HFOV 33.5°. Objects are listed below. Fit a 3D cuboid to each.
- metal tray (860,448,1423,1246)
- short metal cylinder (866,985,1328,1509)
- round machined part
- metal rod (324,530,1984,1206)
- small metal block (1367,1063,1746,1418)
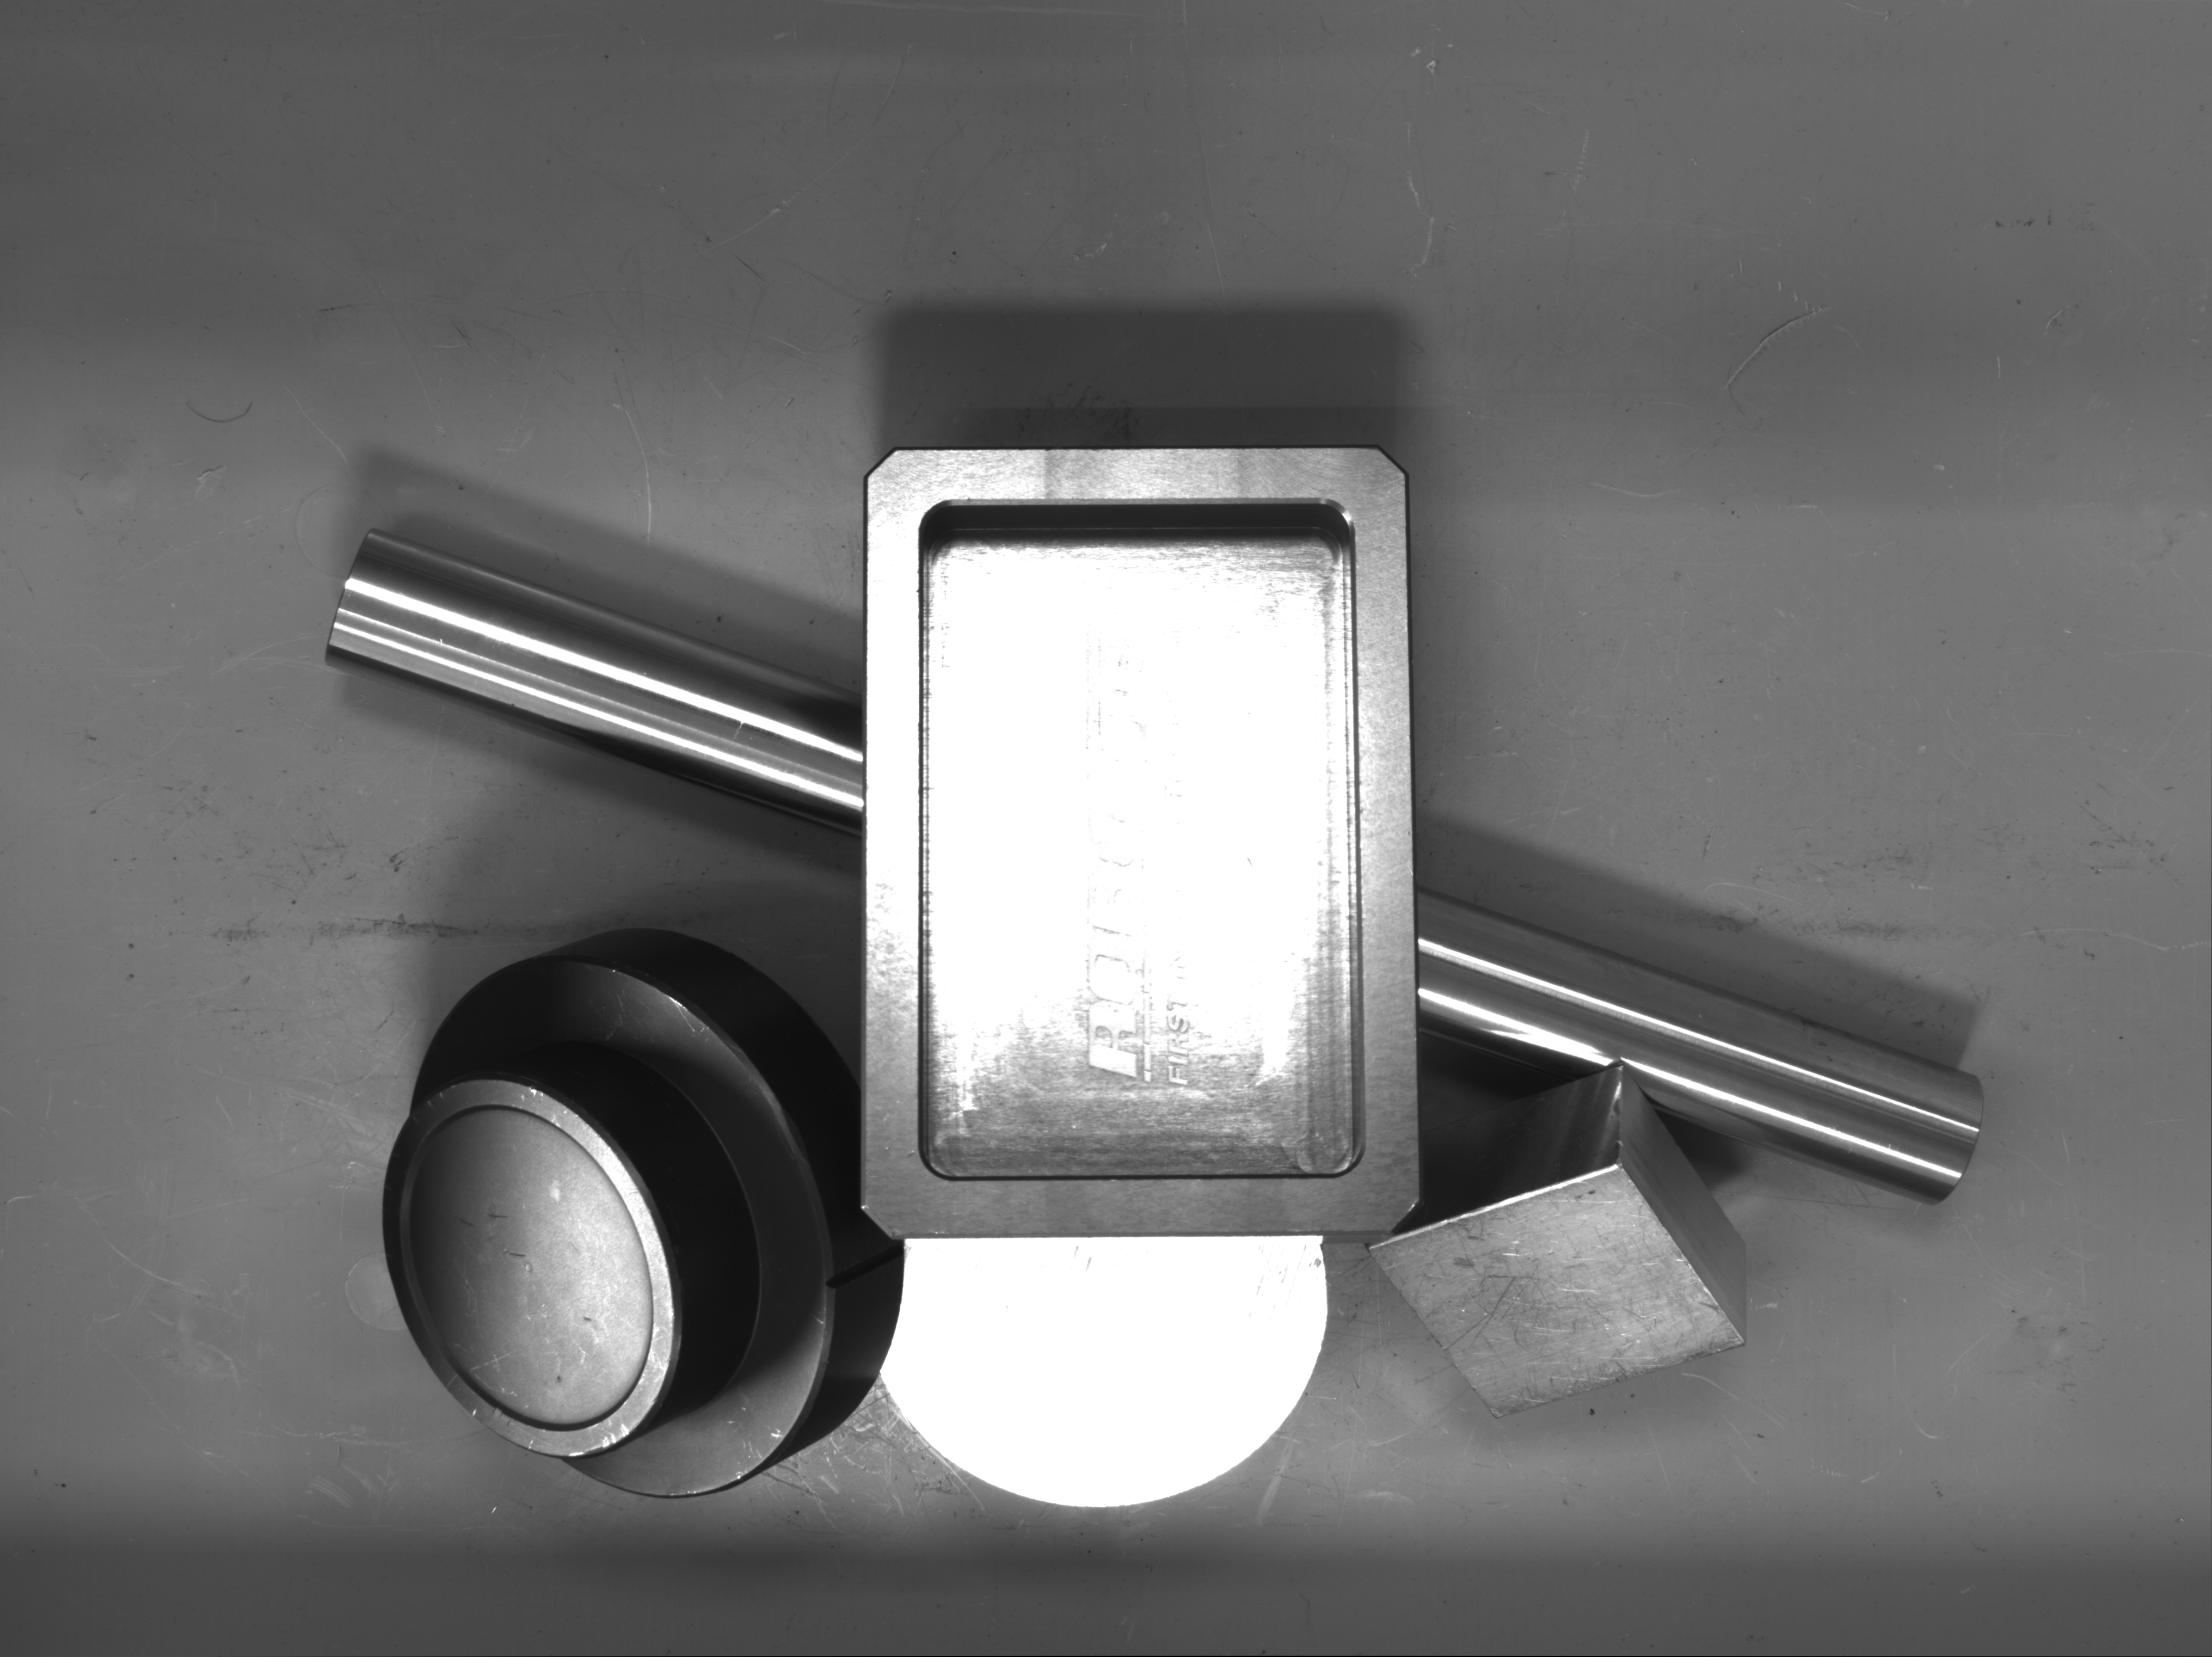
[{"bbox_3d":[0.005,0.004,0.610,0.090,0.030,0.130,0,81,-1],"label":"metal tray"},{"bbox_3d":[-0.002,0.074,0.656,0.080,0.050,0.080,0,110,0],"label":"short metal cylinder"},{"bbox_3d":[-0.086,0.070,0.634,0.098,0.042,0.098,9,107,32],"label":"round machined part"},{"bbox_3d":[0.012,0.008,0.646,0.300,0.025,0.025,19,109,-7],"label":"metal rod"},{"bbox_3d":[0.081,0.075,0.658,0.050,0.025,0.050,-21,125,24],"label":"small metal block"}]
